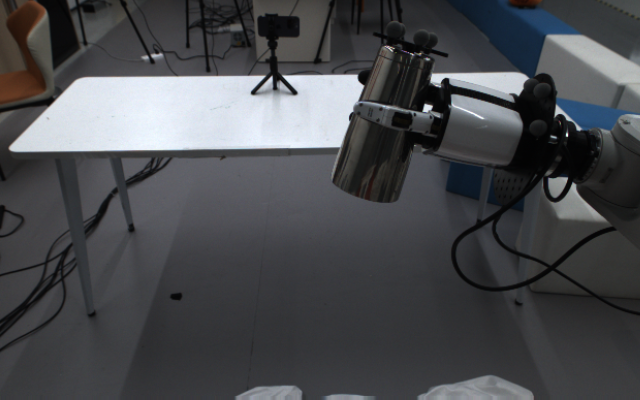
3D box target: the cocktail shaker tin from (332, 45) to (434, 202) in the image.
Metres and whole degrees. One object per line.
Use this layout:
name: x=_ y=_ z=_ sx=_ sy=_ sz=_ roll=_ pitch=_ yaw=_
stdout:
cocktail shaker tin: x=0.080 y=-0.094 z=0.585 sx=0.093 sy=0.170 sz=0.093 roll=14 pitch=22 yaw=-6
